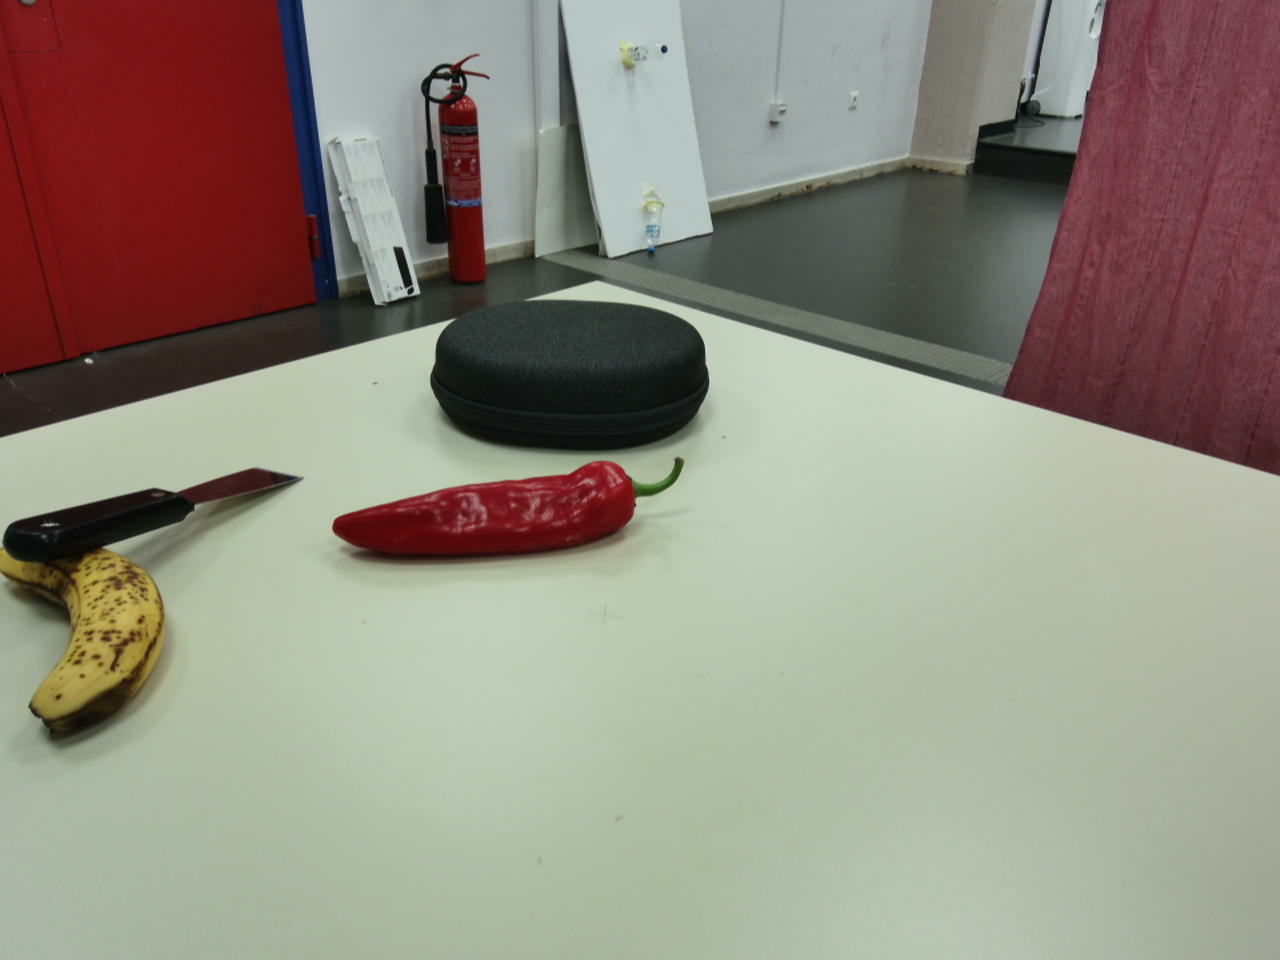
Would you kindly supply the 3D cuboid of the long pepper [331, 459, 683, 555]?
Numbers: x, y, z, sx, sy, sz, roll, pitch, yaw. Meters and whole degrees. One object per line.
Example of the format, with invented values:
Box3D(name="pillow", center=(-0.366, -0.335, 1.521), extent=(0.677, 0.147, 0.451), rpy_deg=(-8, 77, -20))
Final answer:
Box3D(name="long pepper", center=(-0.072, 0.017, 0.589), extent=(0.211, 0.043, 0.050), rpy_deg=(-7, 26, -14))
